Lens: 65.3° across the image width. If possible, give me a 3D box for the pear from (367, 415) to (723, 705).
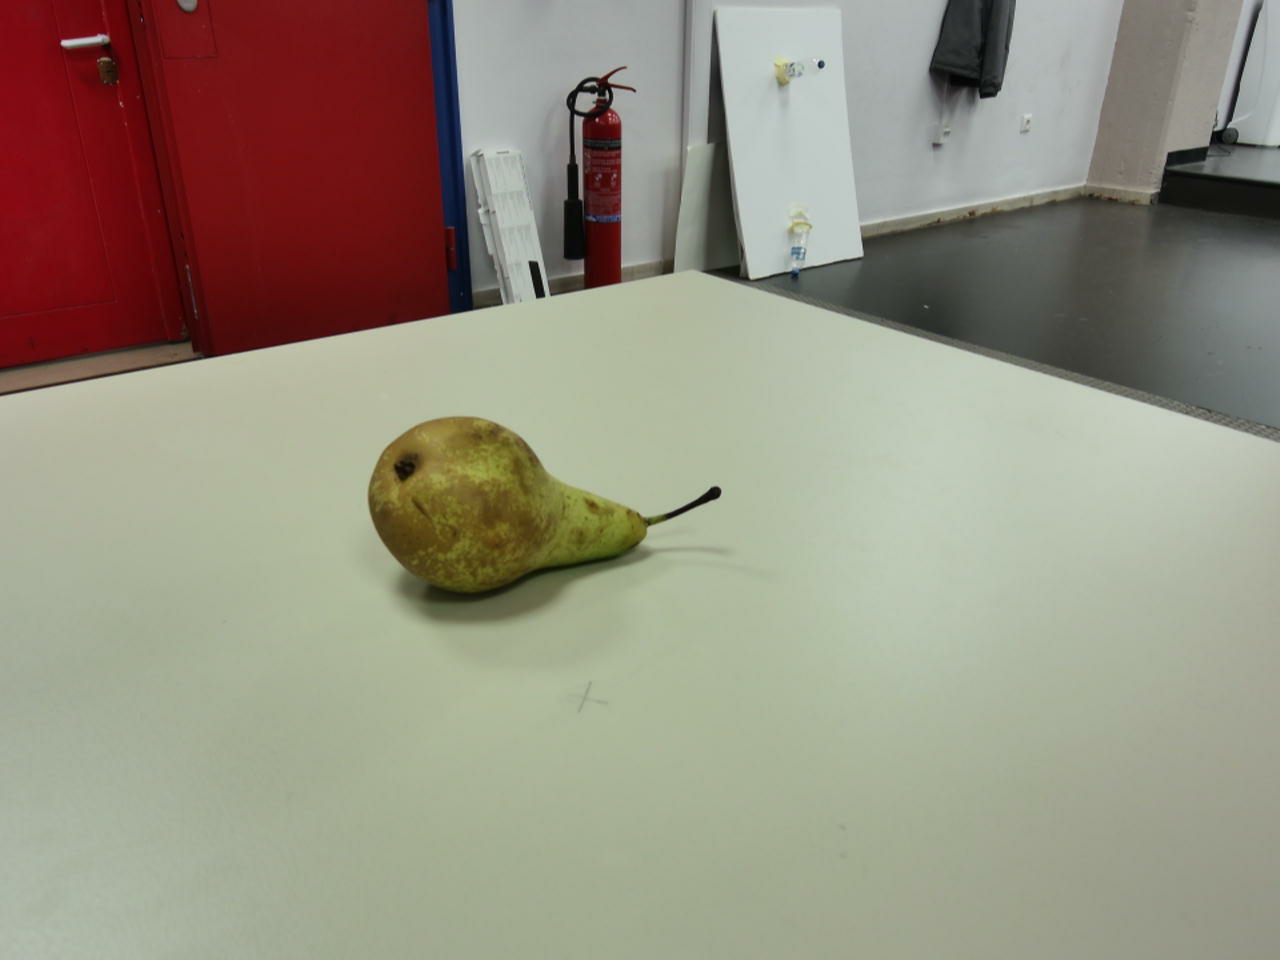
[{"bbox_3d":[-0.044,0.003,0.427,0.144,0.075,0.071,-15,27,-29],"label":"pear"}]
